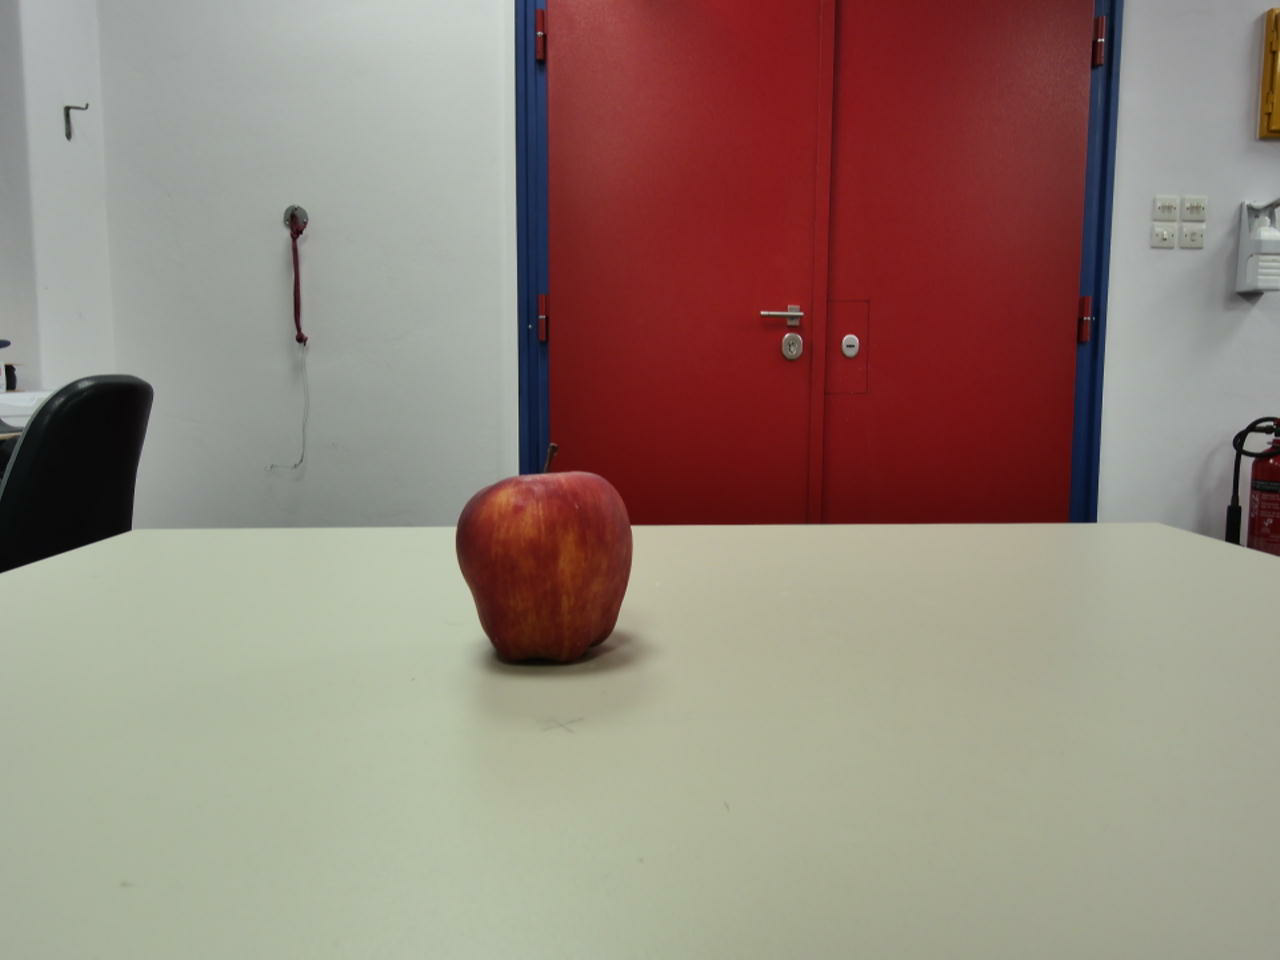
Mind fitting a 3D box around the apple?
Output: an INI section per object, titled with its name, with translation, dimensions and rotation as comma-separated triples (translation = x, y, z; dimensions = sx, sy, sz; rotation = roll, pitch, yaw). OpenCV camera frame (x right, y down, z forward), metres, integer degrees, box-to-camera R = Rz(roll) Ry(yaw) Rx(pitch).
[apple]
translation = -0.042, 0.031, 0.433
dimensions = 0.083, 0.090, 0.083
rotation = 0, 4, 0
